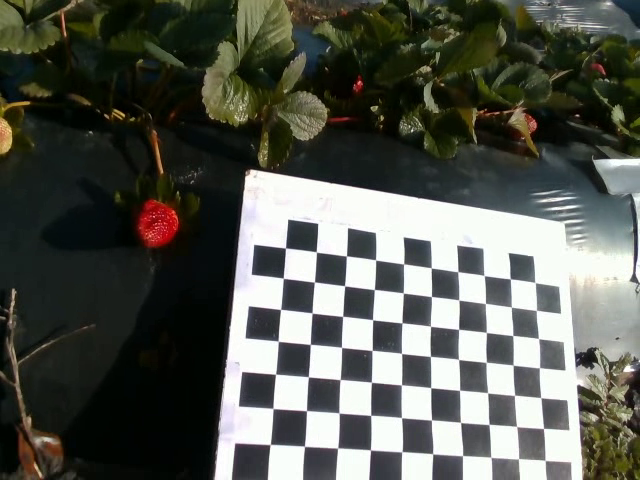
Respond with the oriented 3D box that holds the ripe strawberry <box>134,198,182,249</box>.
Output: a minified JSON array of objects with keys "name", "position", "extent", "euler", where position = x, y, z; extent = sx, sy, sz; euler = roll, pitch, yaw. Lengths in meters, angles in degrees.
[{"name":"ripe strawberry","position":[-0.044,-0.005,0.156],"extent":[0.015,0.015,0.023],"euler":[16,17,-12]}]
